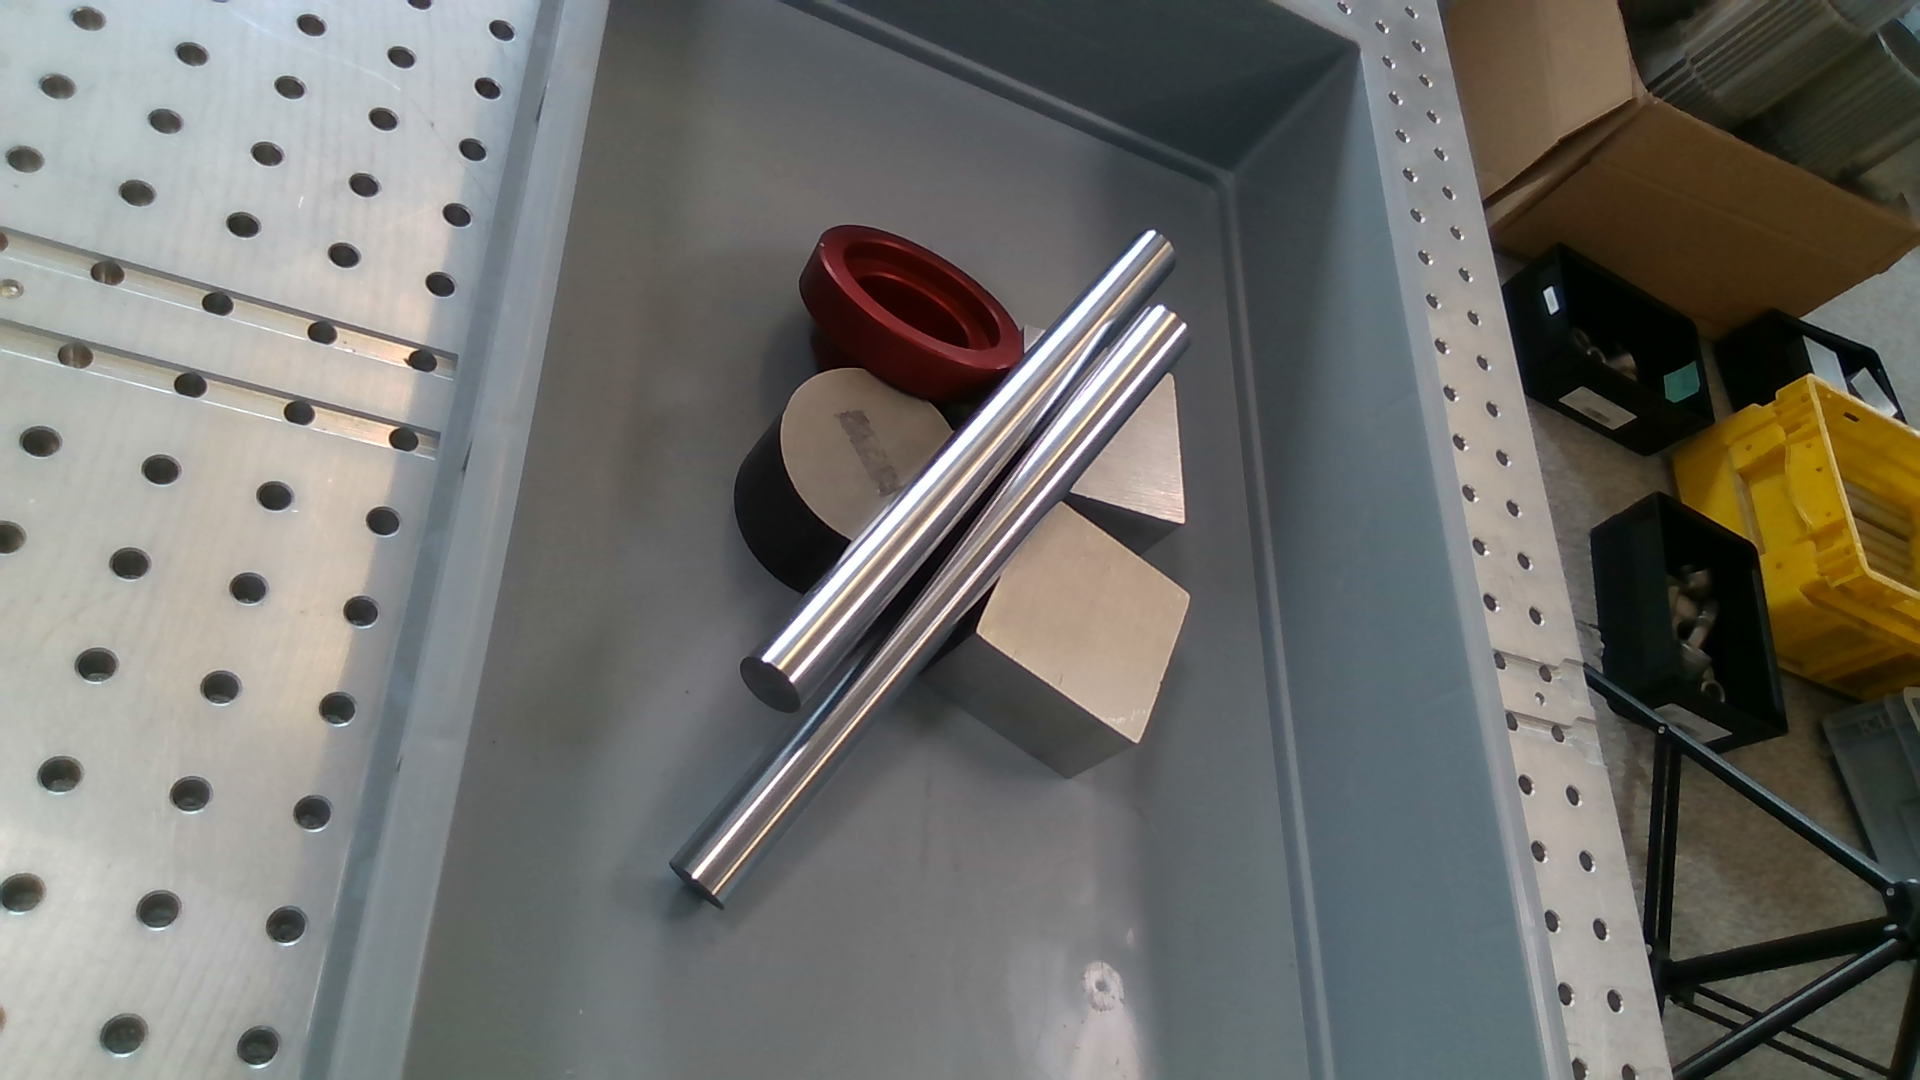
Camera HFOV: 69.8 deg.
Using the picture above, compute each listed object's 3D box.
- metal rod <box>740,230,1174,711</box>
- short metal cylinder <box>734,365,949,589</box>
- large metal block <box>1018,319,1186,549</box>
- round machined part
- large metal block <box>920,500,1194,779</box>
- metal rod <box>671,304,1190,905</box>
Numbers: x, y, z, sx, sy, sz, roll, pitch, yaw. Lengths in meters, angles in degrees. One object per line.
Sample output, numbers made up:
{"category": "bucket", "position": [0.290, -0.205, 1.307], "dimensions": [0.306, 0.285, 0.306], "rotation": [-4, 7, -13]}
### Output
{"category": "metal rod", "position": [0.013, -0.043, 0.549], "dimensions": [0.025, 0.025, 0.299], "rotation": [43, 52, -4]}
{"category": "short metal cylinder", "position": [-0.044, -0.023, 0.553], "dimensions": [0.080, 0.050, 0.080], "rotation": [14, 59, -25]}
{"category": "large metal block", "position": [0.051, -0.042, 0.619], "dimensions": [0.080, 0.050, 0.080], "rotation": [15, 58, -24]}
{"category": "round machined part", "position": [-0.025, -0.090, 0.592], "dimensions": [0.098, 0.042, 0.098], "rotation": [25, 31, -16]}
{"category": "large metal block", "position": [0.041, 0.039, 0.572], "dimensions": [0.080, 0.050, 0.080], "rotation": [35, 52, -11]}
{"category": "metal rod", "position": [0.000, 0.012, 0.530], "dimensions": [0.025, 0.025, 0.299], "rotation": [43, 65, -5]}
